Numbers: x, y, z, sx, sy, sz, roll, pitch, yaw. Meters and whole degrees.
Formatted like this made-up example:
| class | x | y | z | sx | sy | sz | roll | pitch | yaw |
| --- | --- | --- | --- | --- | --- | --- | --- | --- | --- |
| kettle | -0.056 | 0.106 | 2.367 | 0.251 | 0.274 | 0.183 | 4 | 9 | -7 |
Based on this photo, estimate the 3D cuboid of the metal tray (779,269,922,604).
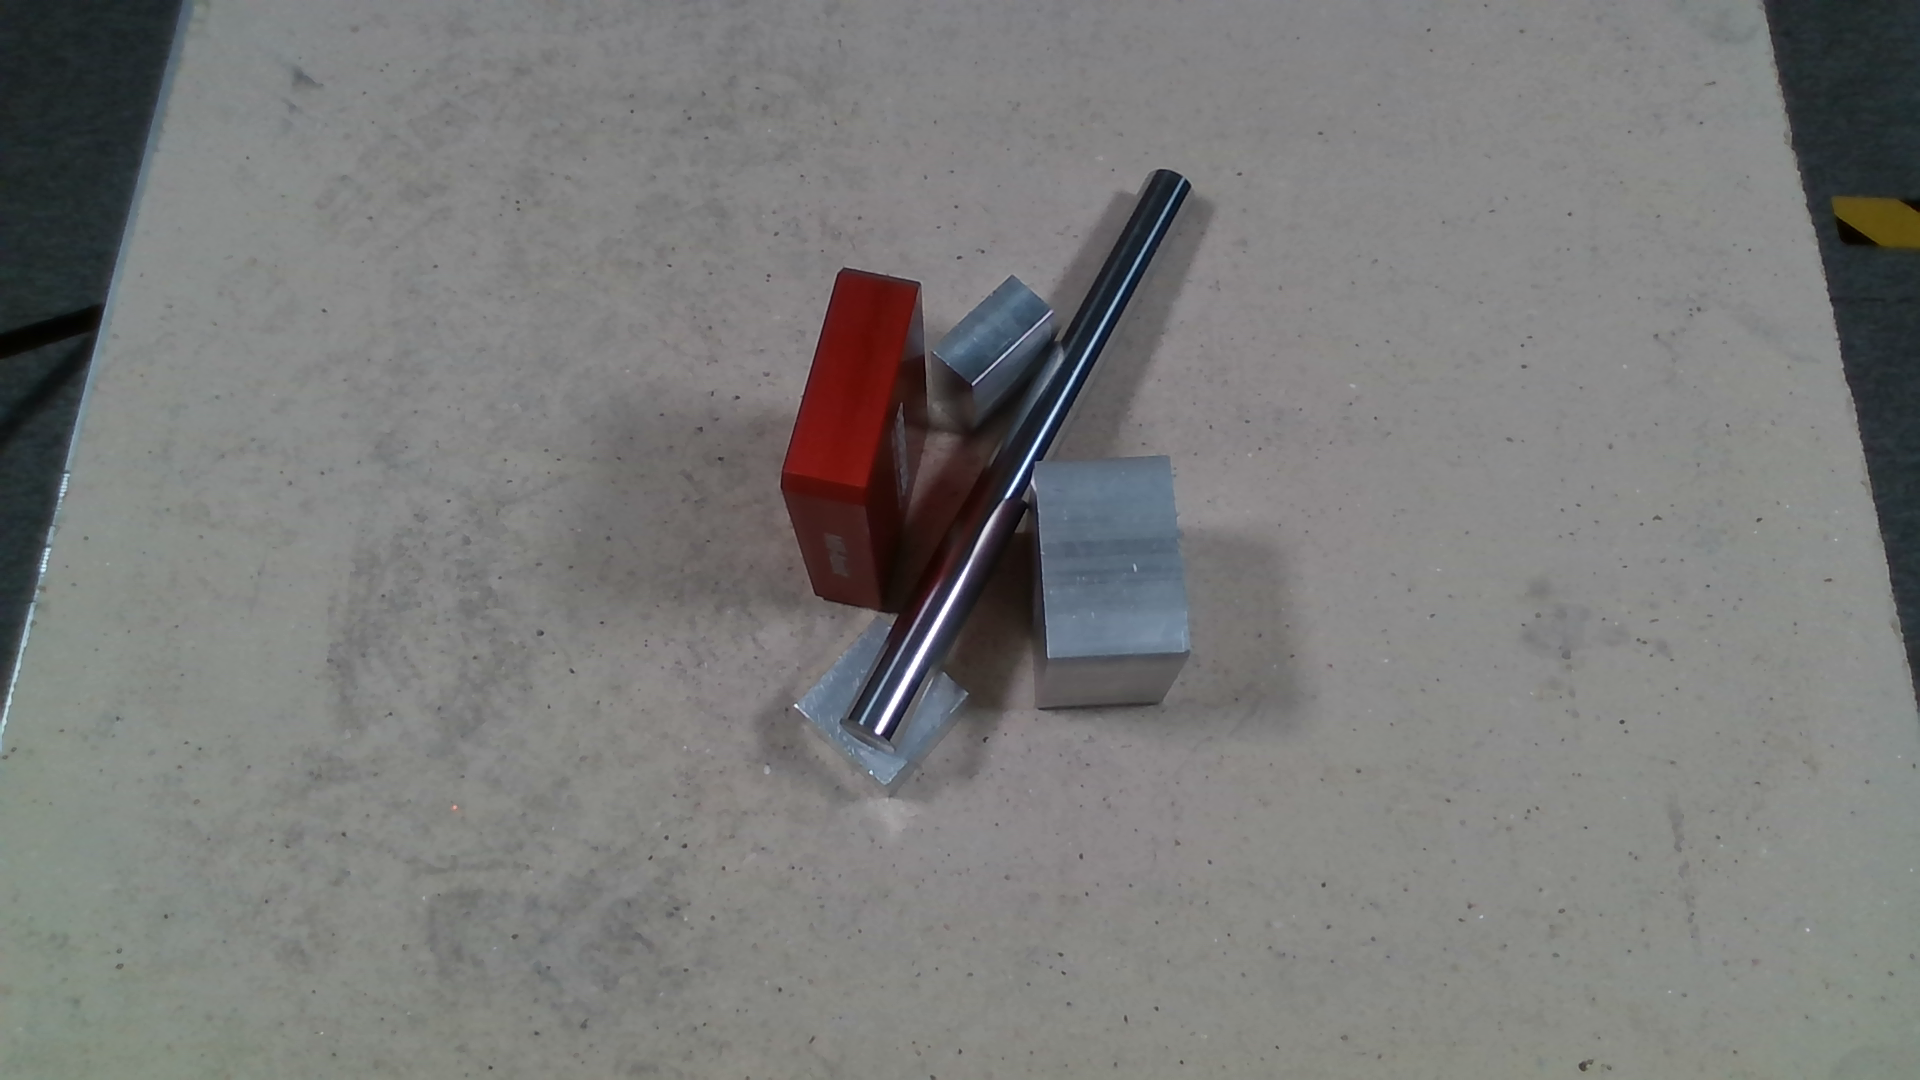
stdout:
| class | x | y | z | sx | sy | sz | roll | pitch | yaw |
| --- | --- | --- | --- | --- | --- | --- | --- | --- | --- |
| metal tray | -0.039 | -0.035 | 0.545 | 0.030 | 0.130 | 0.090 | 12 | 70 | 4 |

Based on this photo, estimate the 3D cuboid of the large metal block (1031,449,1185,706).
| class | x | y | z | sx | sy | sz | roll | pitch | yaw |
| --- | --- | --- | --- | --- | --- | --- | --- | --- | --- |
| large metal block | 0.055 | 0.017 | 0.552 | 0.050 | 0.080 | 0.080 | -2 | 70 | -1 |

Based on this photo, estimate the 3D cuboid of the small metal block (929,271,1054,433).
| class | x | y | z | sx | sy | sz | roll | pitch | yaw |
| --- | --- | --- | --- | --- | --- | --- | --- | --- | --- |
| small metal block | 0.014 | -0.081 | 0.603 | 0.025 | 0.050 | 0.050 | 43 | 76 | 14 |

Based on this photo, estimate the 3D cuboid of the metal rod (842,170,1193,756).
| class | x | y | z | sx | sy | sz | roll | pitch | yaw |
| --- | --- | --- | --- | --- | --- | --- | --- | --- | --- |
| metal rod | 0.031 | -0.044 | 0.589 | 0.025 | 0.025 | 0.299 | 25 | 67 | 9 |

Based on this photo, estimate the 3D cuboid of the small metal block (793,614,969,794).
| class | x | y | z | sx | sy | sz | roll | pitch | yaw |
| --- | --- | --- | --- | --- | --- | --- | --- | --- | --- |
| small metal block | -0.032 | 0.068 | 0.565 | 0.050 | 0.025 | 0.050 | 40 | 75 | 13 |
